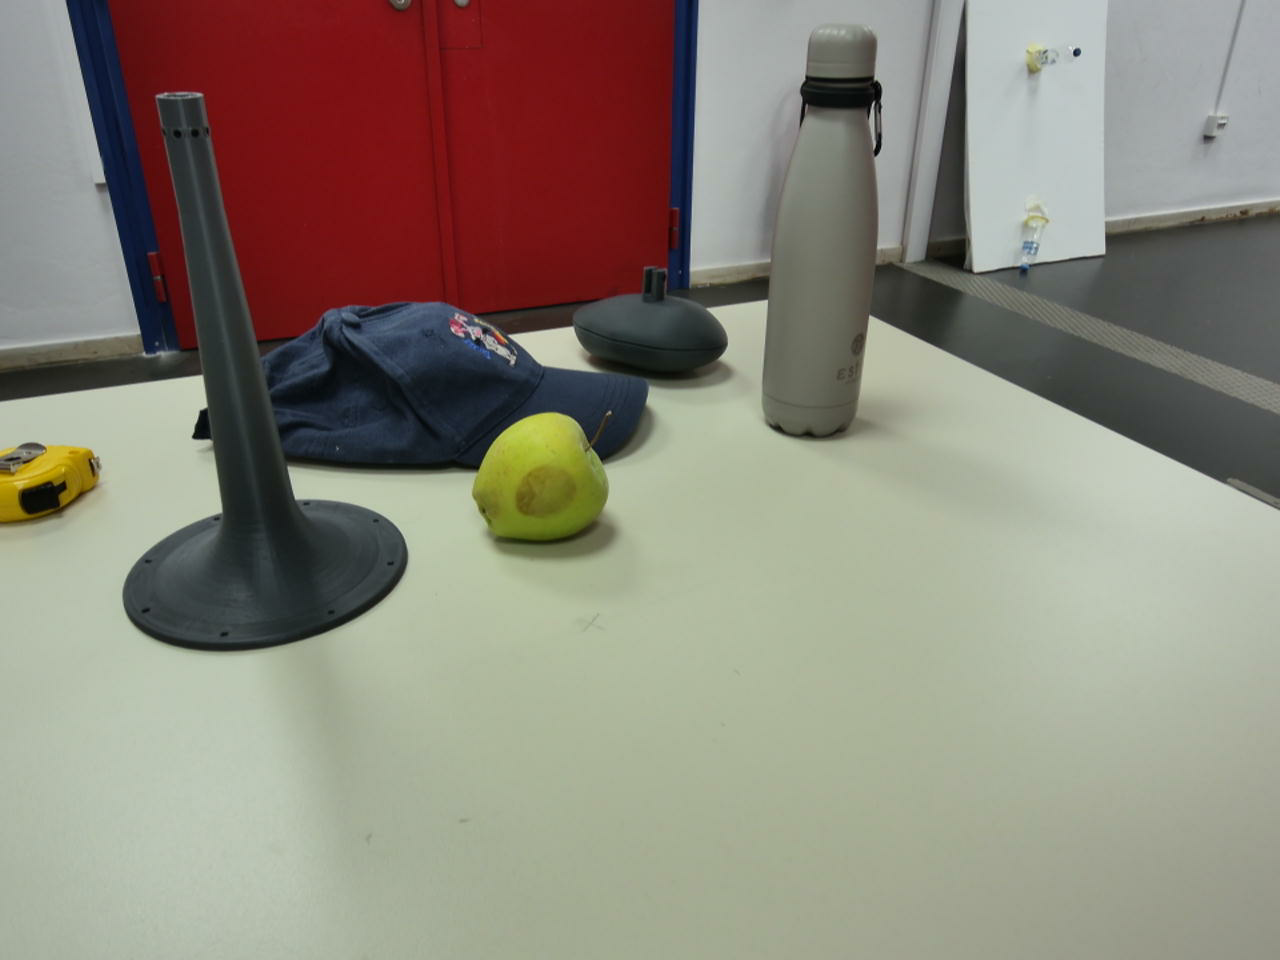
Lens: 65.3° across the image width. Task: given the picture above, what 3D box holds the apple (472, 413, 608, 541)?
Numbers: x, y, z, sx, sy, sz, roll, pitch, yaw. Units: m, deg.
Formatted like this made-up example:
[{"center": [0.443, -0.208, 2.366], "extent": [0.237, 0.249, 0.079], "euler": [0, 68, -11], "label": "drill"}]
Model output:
[{"center": [-0.057, -0.003, 0.591], "extent": [0.077, 0.075, 0.072], "euler": [10, 27, 17], "label": "apple"}]
